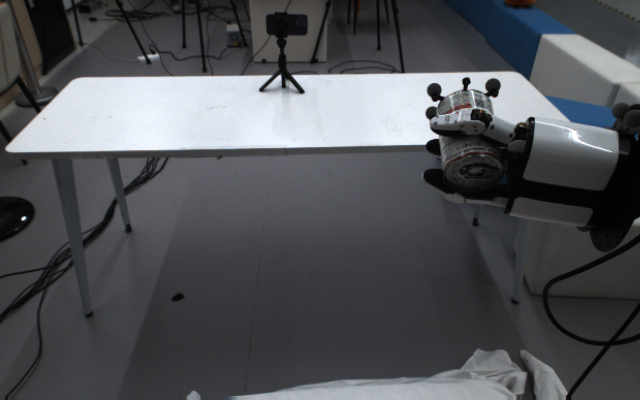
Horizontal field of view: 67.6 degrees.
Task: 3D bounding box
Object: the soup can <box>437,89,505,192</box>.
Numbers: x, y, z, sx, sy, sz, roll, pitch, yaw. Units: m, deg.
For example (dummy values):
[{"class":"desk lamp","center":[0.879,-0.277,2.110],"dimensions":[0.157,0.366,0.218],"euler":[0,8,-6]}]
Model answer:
[{"class":"soup can","center":[0.175,-0.070,0.563],"dimensions":[0.067,0.067,0.101],"euler":[3,57,1]}]
